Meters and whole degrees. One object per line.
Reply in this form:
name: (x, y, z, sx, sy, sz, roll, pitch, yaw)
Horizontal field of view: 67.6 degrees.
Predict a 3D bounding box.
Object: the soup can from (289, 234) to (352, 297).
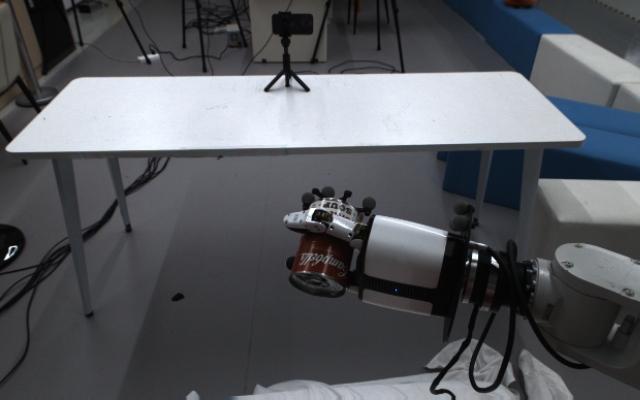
soup can: (0.009, 0.056, 0.577, 0.067, 0.067, 0.101, 9, 58, 10)
